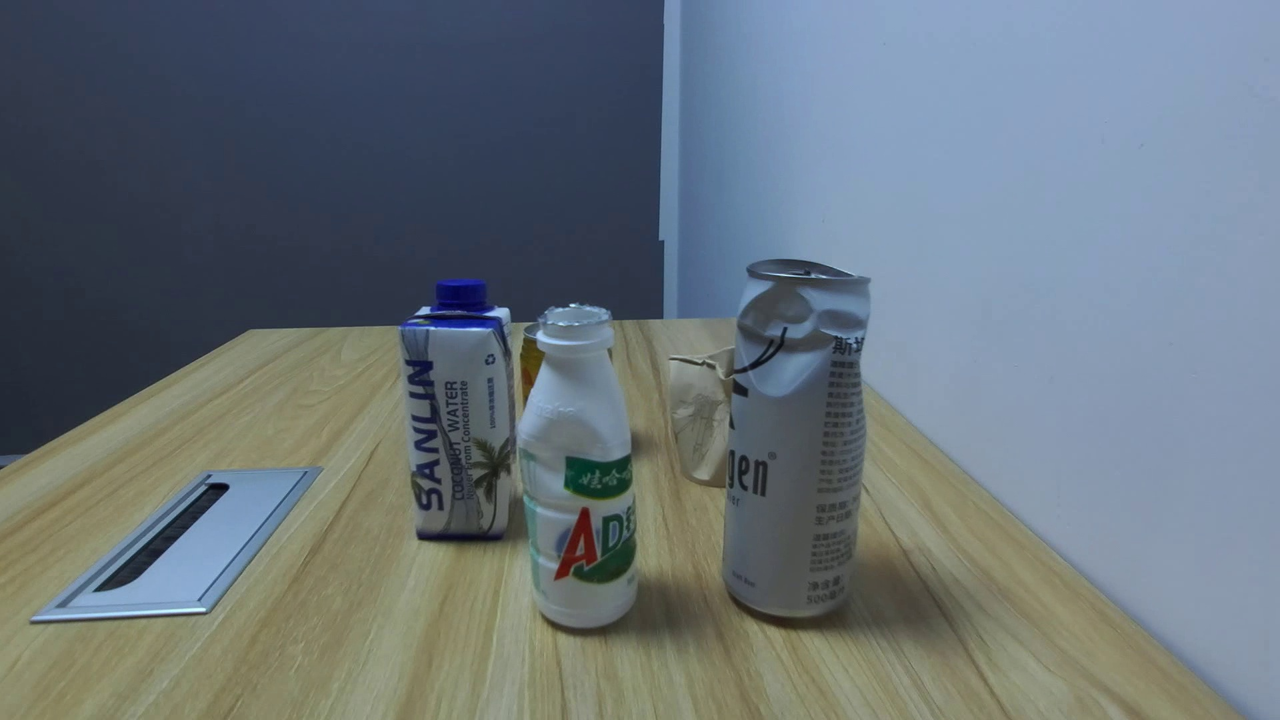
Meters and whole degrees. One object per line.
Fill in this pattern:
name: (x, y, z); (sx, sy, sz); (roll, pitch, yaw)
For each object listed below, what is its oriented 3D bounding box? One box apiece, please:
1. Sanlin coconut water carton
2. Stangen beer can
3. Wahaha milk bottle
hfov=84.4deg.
Sanlin coconut water carton: (-0.102, 0.028, 0.412); (0.060, 0.144, 0.060); (0, 18, 0)
Stangen beer can: (0.075, 0.041, 0.340); (0.066, 0.166, 0.066); (7, 14, 27)
Wahaha milk bottle: (-0.028, 0.051, 0.329); (0.055, 0.149, 0.055); (0, 17, 0)
